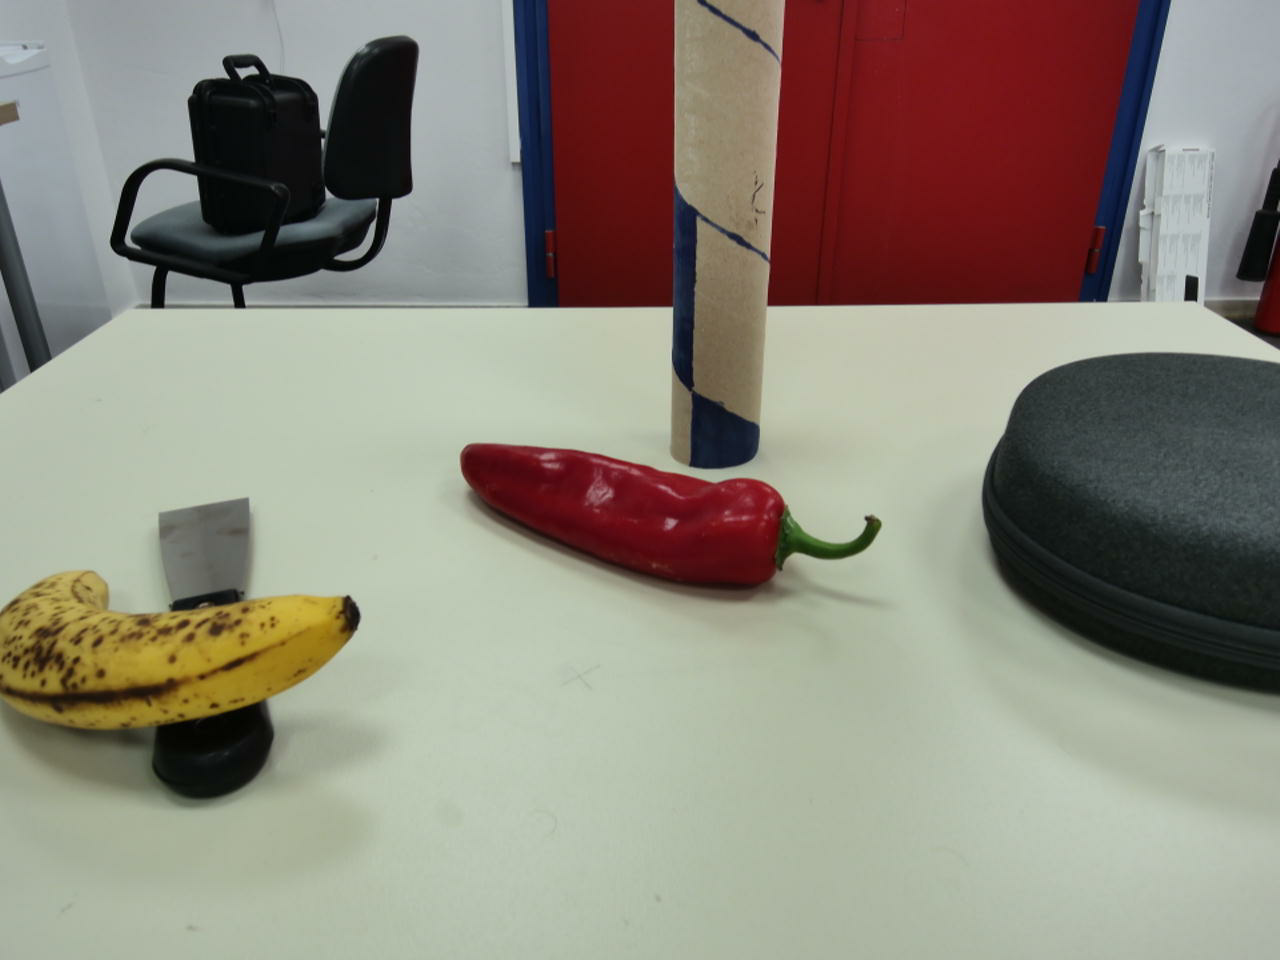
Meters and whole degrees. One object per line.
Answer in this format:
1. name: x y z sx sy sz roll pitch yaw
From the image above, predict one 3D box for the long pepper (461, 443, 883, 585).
1. long pepper: -0.002 0.011 0.436 0.211 0.043 0.050 14 28 29
